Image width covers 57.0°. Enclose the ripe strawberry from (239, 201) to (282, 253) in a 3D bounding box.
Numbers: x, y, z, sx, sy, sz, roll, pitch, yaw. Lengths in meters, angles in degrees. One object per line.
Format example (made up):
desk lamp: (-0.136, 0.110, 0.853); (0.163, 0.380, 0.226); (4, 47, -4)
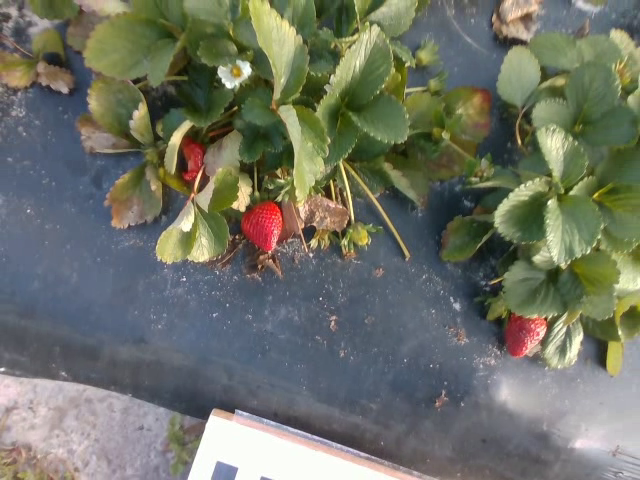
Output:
ripe strawberry: (-0.035, -0.006, 0.349); (0.031, 0.030, 0.026); (-18, -16, 0)
